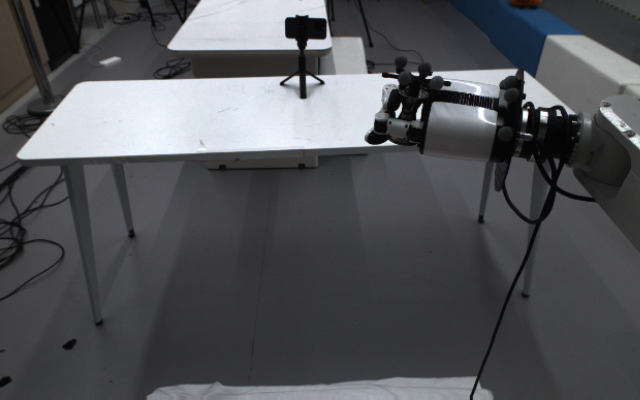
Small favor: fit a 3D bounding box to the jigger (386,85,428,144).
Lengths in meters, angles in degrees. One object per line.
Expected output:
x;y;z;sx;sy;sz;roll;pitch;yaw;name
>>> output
0.119;-0.113;0.654;0.043;0.071;0.043;7;32;-4;jigger
